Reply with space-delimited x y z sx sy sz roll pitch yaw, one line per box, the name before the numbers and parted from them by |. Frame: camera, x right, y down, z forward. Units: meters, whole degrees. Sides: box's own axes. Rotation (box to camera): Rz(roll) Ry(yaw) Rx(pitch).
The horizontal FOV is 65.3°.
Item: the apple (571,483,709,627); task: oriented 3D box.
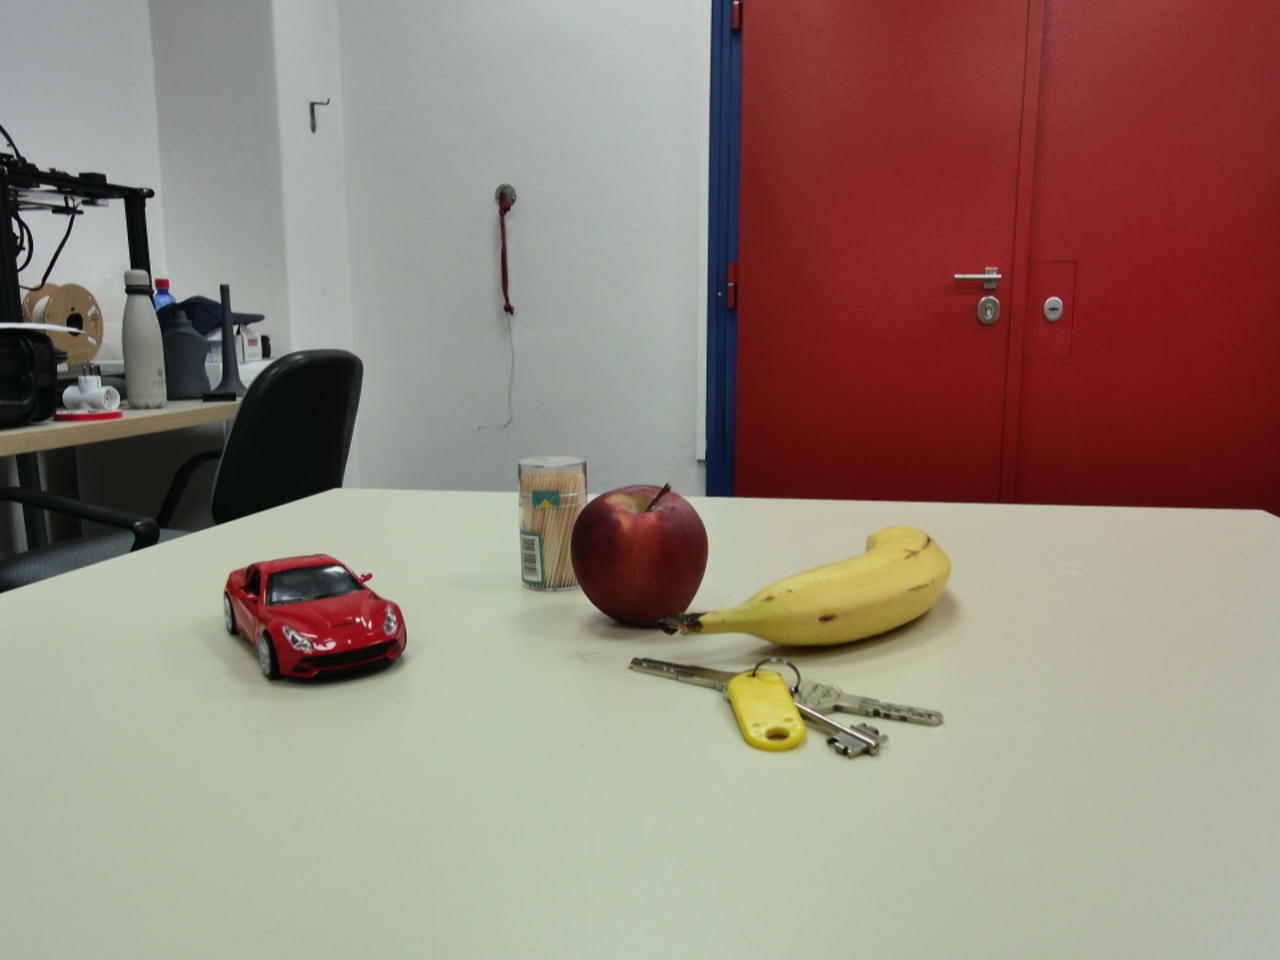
apple | 0.000 0.038 0.508 0.070 0.072 0.070 1 6 0
